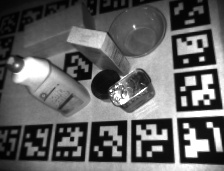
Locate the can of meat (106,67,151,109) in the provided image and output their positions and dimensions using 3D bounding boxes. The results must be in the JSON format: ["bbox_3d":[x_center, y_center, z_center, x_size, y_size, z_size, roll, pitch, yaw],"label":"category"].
[{"bbox_3d":[0.041,0.006,0.538,0.101,0.085,0.057,-33,60,6],"label":"can of meat"}]

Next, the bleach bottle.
[{"bbox_3d":[-0.163,-0.008,0.522,0.102,0.254,0.067,-30,62,10],"label":"bleach bottle"}]

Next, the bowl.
[{"bbox_3d":[0.068,-0.151,0.596,0.160,0.056,0.161,-8,68,22],"label":"bowl"}]

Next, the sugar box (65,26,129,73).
[{"bbox_3d":[-0.033,-0.087,0.540,0.091,0.179,0.045,17,80,30],"label":"sugar box"}]

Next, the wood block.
[{"bbox_3d":[-0.177,-0.177,0.683,0.205,0.091,0.090,-14,71,15],"label":"wood block"}]

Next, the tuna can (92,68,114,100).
[{"bbox_3d":[-0.031,-0.005,0.590,0.085,0.034,0.085,-6,73,20],"label":"tuna can"}]
